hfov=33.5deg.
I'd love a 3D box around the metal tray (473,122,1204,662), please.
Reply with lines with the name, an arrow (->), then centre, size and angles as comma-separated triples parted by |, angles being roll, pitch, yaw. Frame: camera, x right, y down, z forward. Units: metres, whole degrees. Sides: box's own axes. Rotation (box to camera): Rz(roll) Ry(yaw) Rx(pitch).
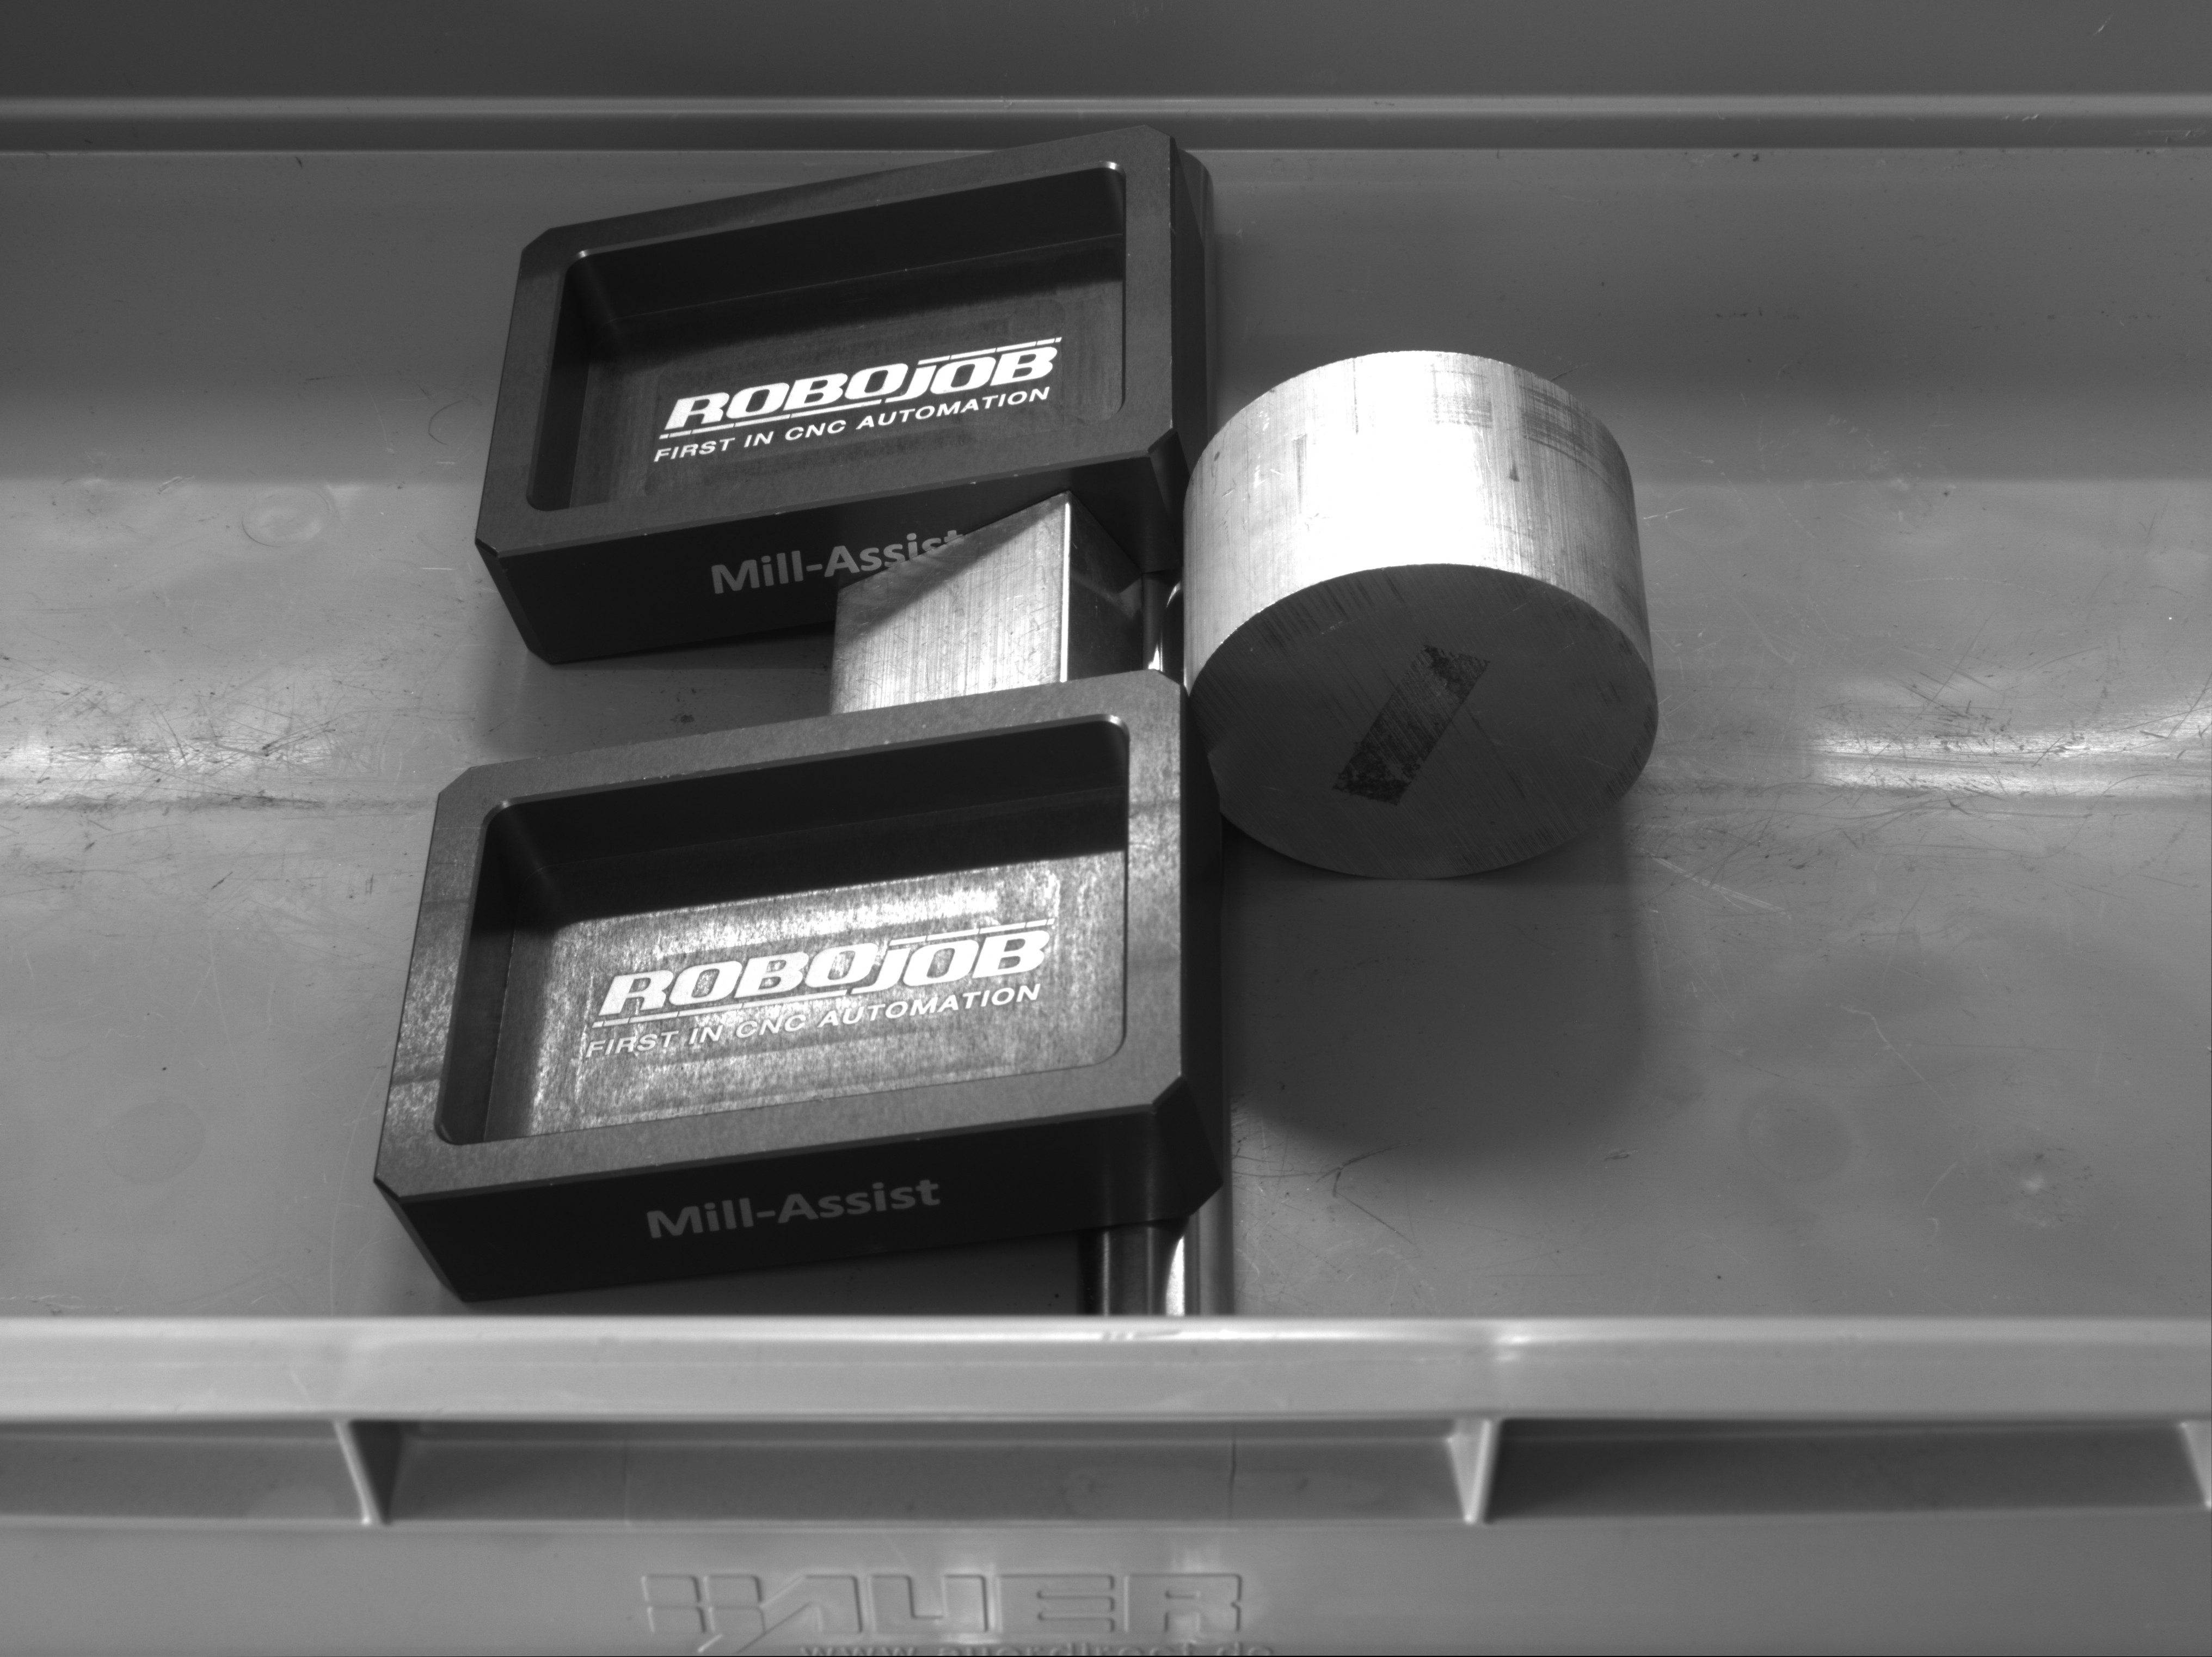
metal tray -> -0.048, -0.082, 0.689 | 0.130, 0.030, 0.090 | -8, 49, 10

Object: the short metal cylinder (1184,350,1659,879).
short metal cylinder -> 0.053, -0.036, 0.636 | 0.080, 0.080, 0.050 | 0, 50, 0

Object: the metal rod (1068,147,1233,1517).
metal rod -> 0.008, -0.016, 0.654 | 0.025, 0.025, 0.300 | 0, 50, 0

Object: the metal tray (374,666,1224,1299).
metal tray -> -0.048, 0.024, 0.599 | 0.130, 0.030, 0.090 | -8, 49, 10

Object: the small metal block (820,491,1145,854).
small metal block -> -0.021, -0.025, 0.648 | 0.050, 0.025, 0.050 | -21, 45, 24
